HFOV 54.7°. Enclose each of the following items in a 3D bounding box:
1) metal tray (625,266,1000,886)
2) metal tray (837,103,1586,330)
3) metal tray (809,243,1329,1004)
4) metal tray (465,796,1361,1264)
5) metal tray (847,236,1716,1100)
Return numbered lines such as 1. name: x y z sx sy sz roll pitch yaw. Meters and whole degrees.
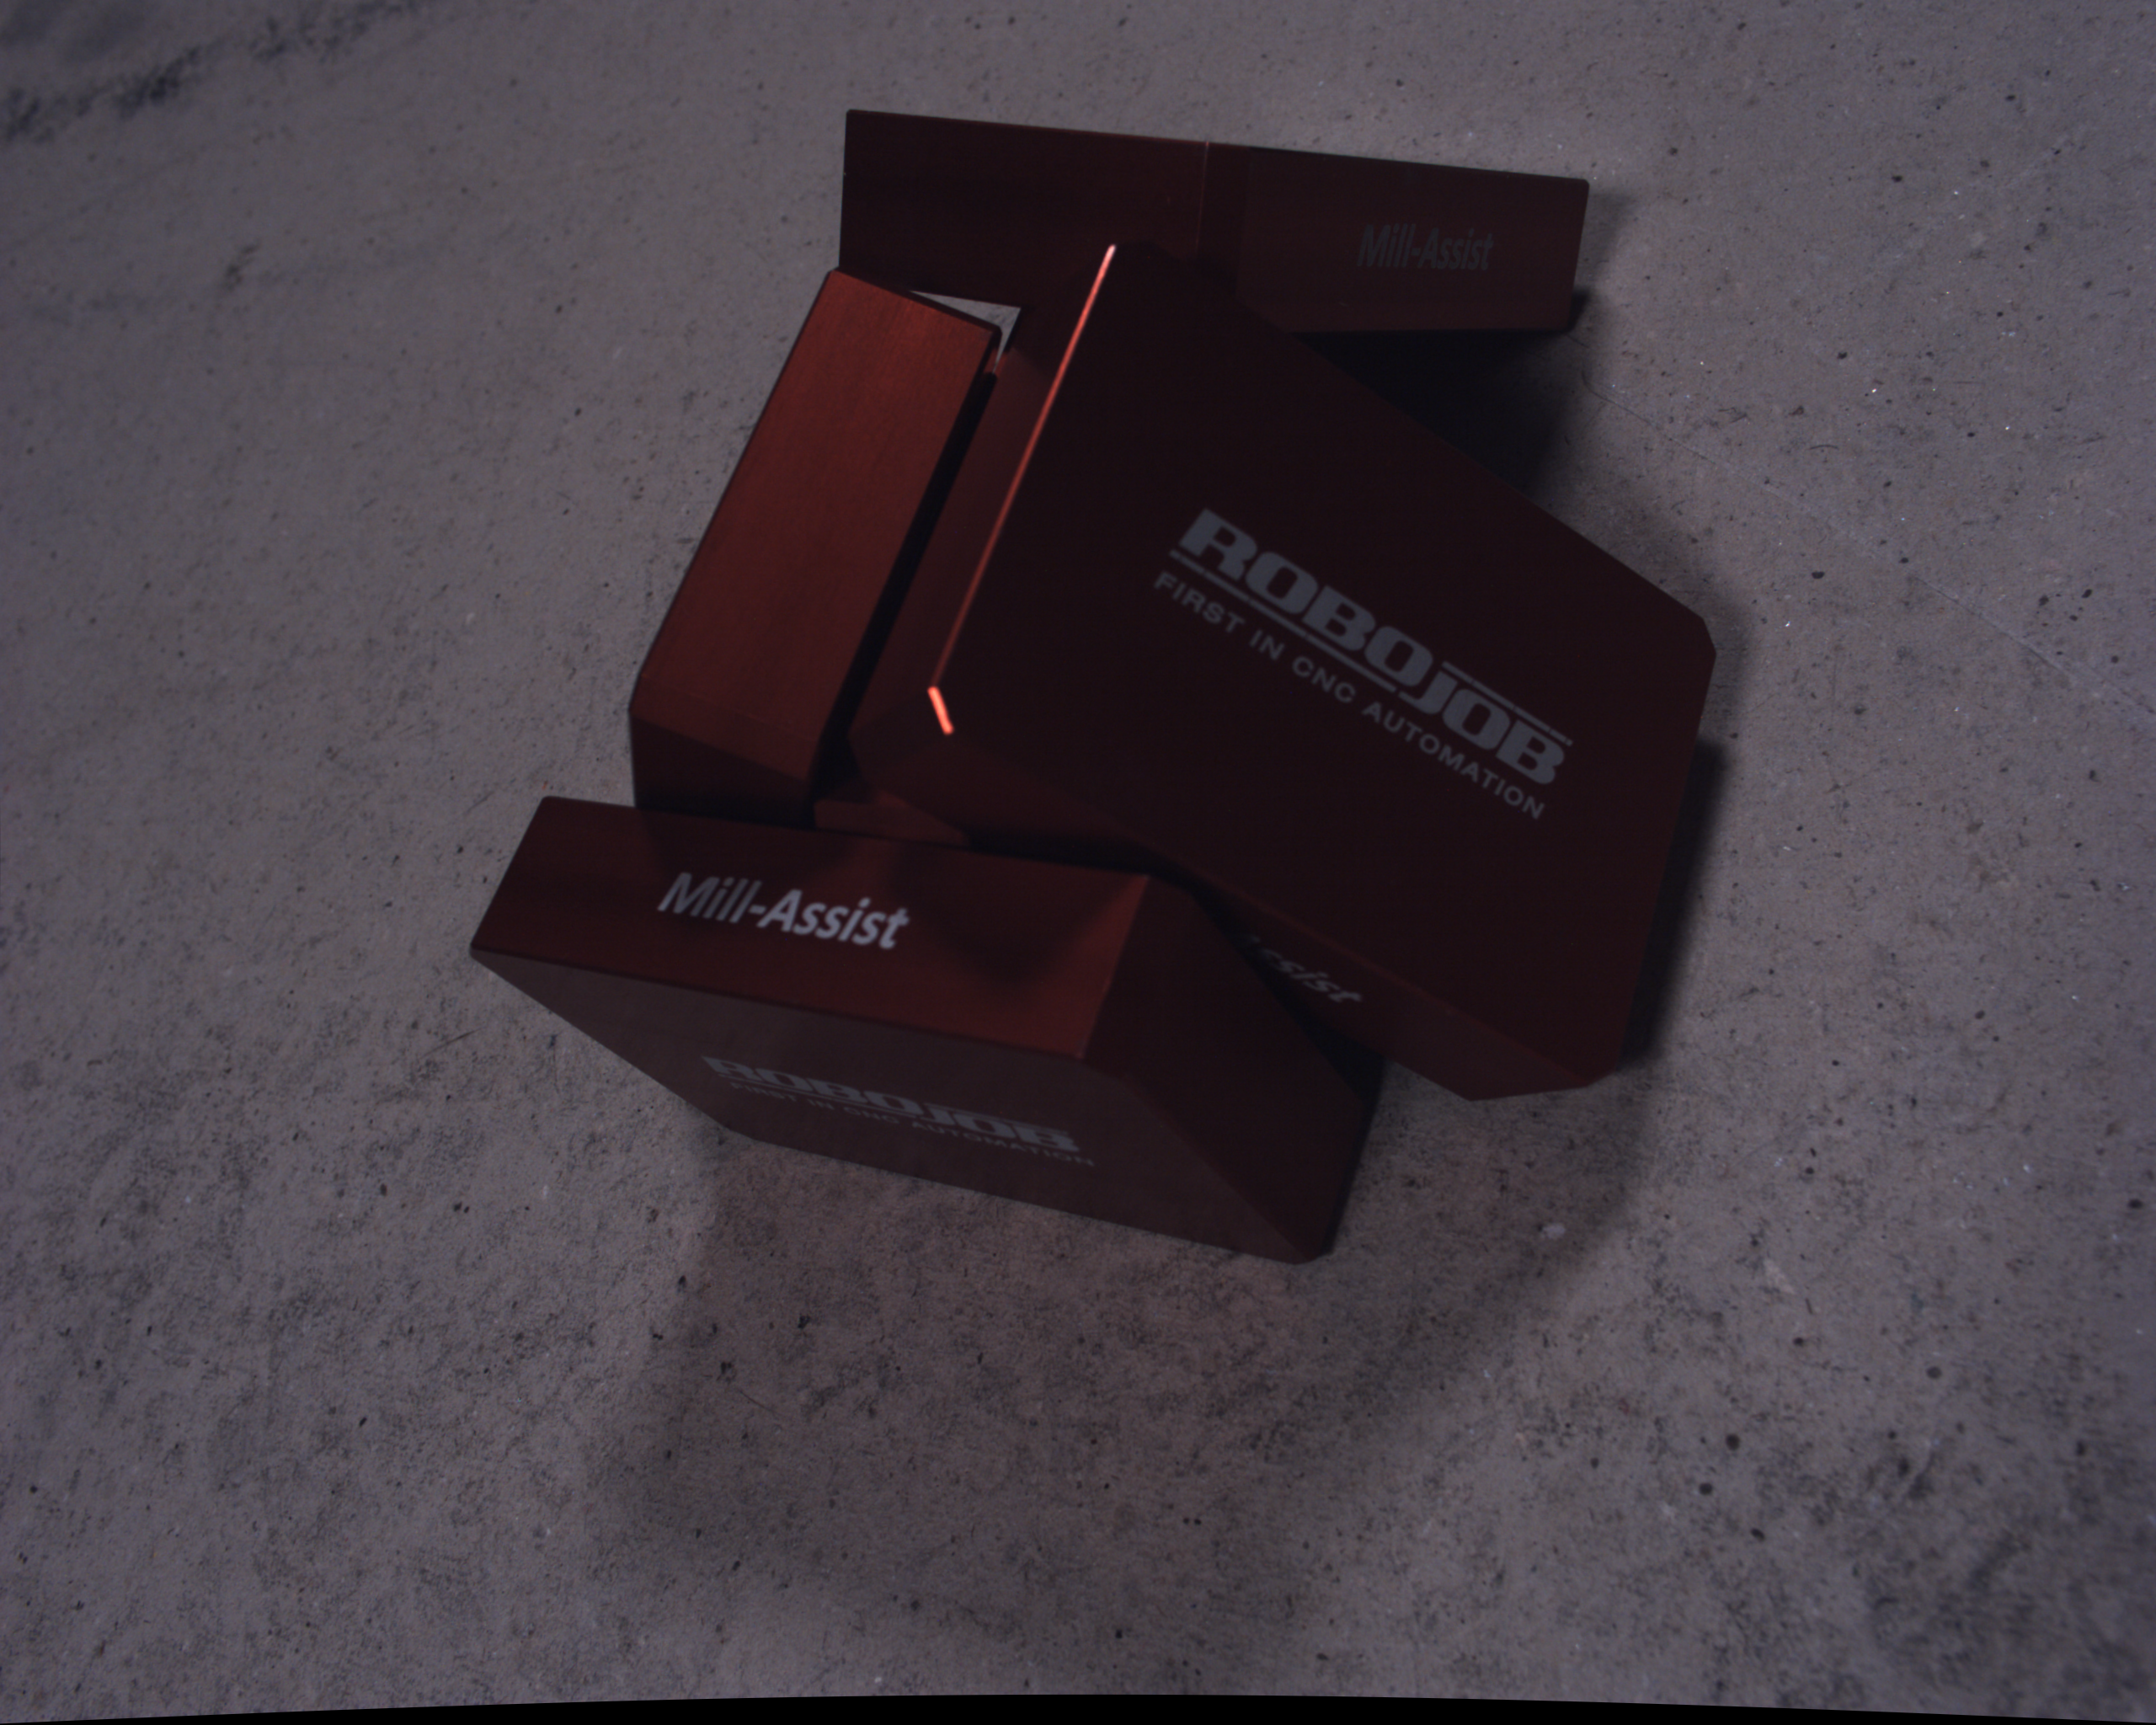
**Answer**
1. metal tray: -0.052 -0.037 0.391 0.030 0.130 0.090 21 69 -3
2. metal tray: 0.029 -0.125 0.406 0.090 0.131 0.030 19 113 35
3. metal tray: 0.008 -0.041 0.383 0.030 0.090 0.130 7 65 31
4. metal tray: -0.028 0.029 0.358 0.130 0.090 0.030 7 66 31
5. metal tray: 0.039 -0.028 0.337 0.030 0.131 0.090 -20 46 59
